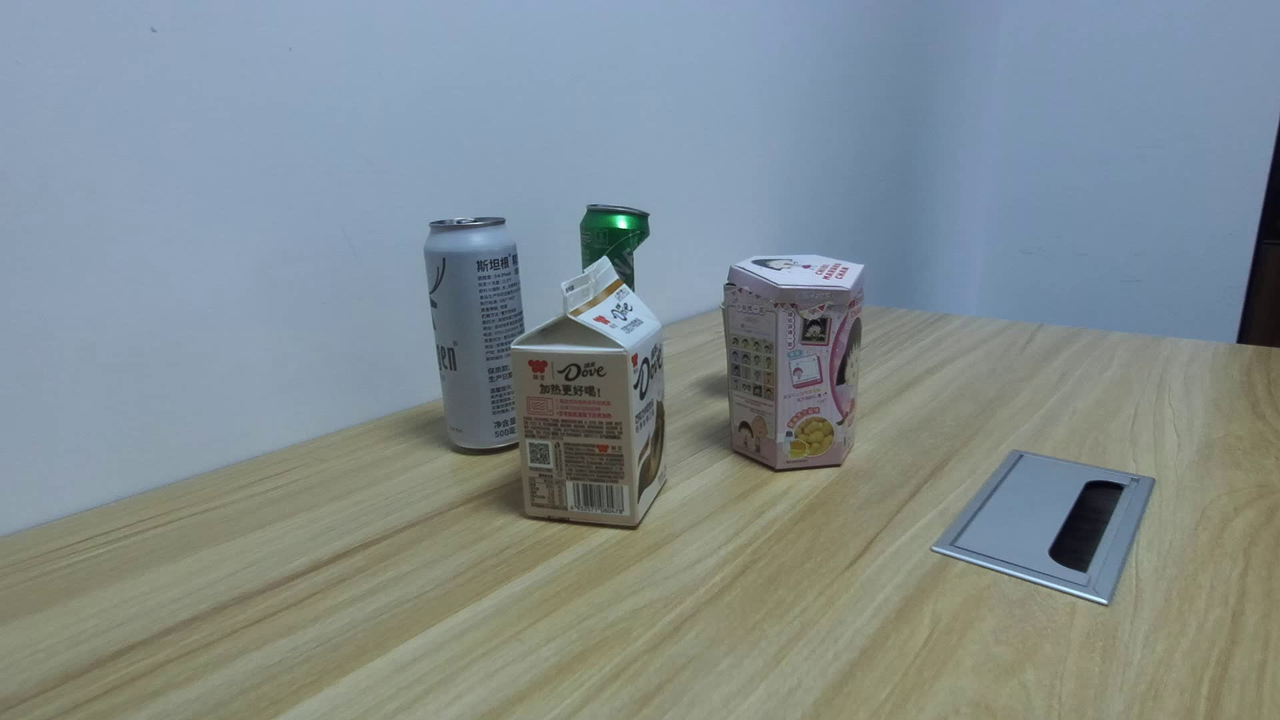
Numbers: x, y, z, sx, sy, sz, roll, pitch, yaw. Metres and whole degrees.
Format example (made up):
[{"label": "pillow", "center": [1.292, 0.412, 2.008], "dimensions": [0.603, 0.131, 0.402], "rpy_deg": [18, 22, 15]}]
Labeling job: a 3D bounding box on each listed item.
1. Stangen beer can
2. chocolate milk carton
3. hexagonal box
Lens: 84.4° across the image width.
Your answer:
[{"label": "Stangen beer can", "center": [-0.120, -0.018, 0.531], "dimensions": [0.067, 0.171, 0.067], "rpy_deg": [-3, 13, 1]}, {"label": "chocolate milk carton", "center": [-0.028, 0.016, 0.430], "dimensions": [0.074, 0.148, 0.075], "rpy_deg": [3, 16, 17]}, {"label": "hexagonal box", "center": [0.107, -0.001, 0.491], "dimensions": [0.084, 0.135, 0.092], "rpy_deg": [7, 19, 26]}]
